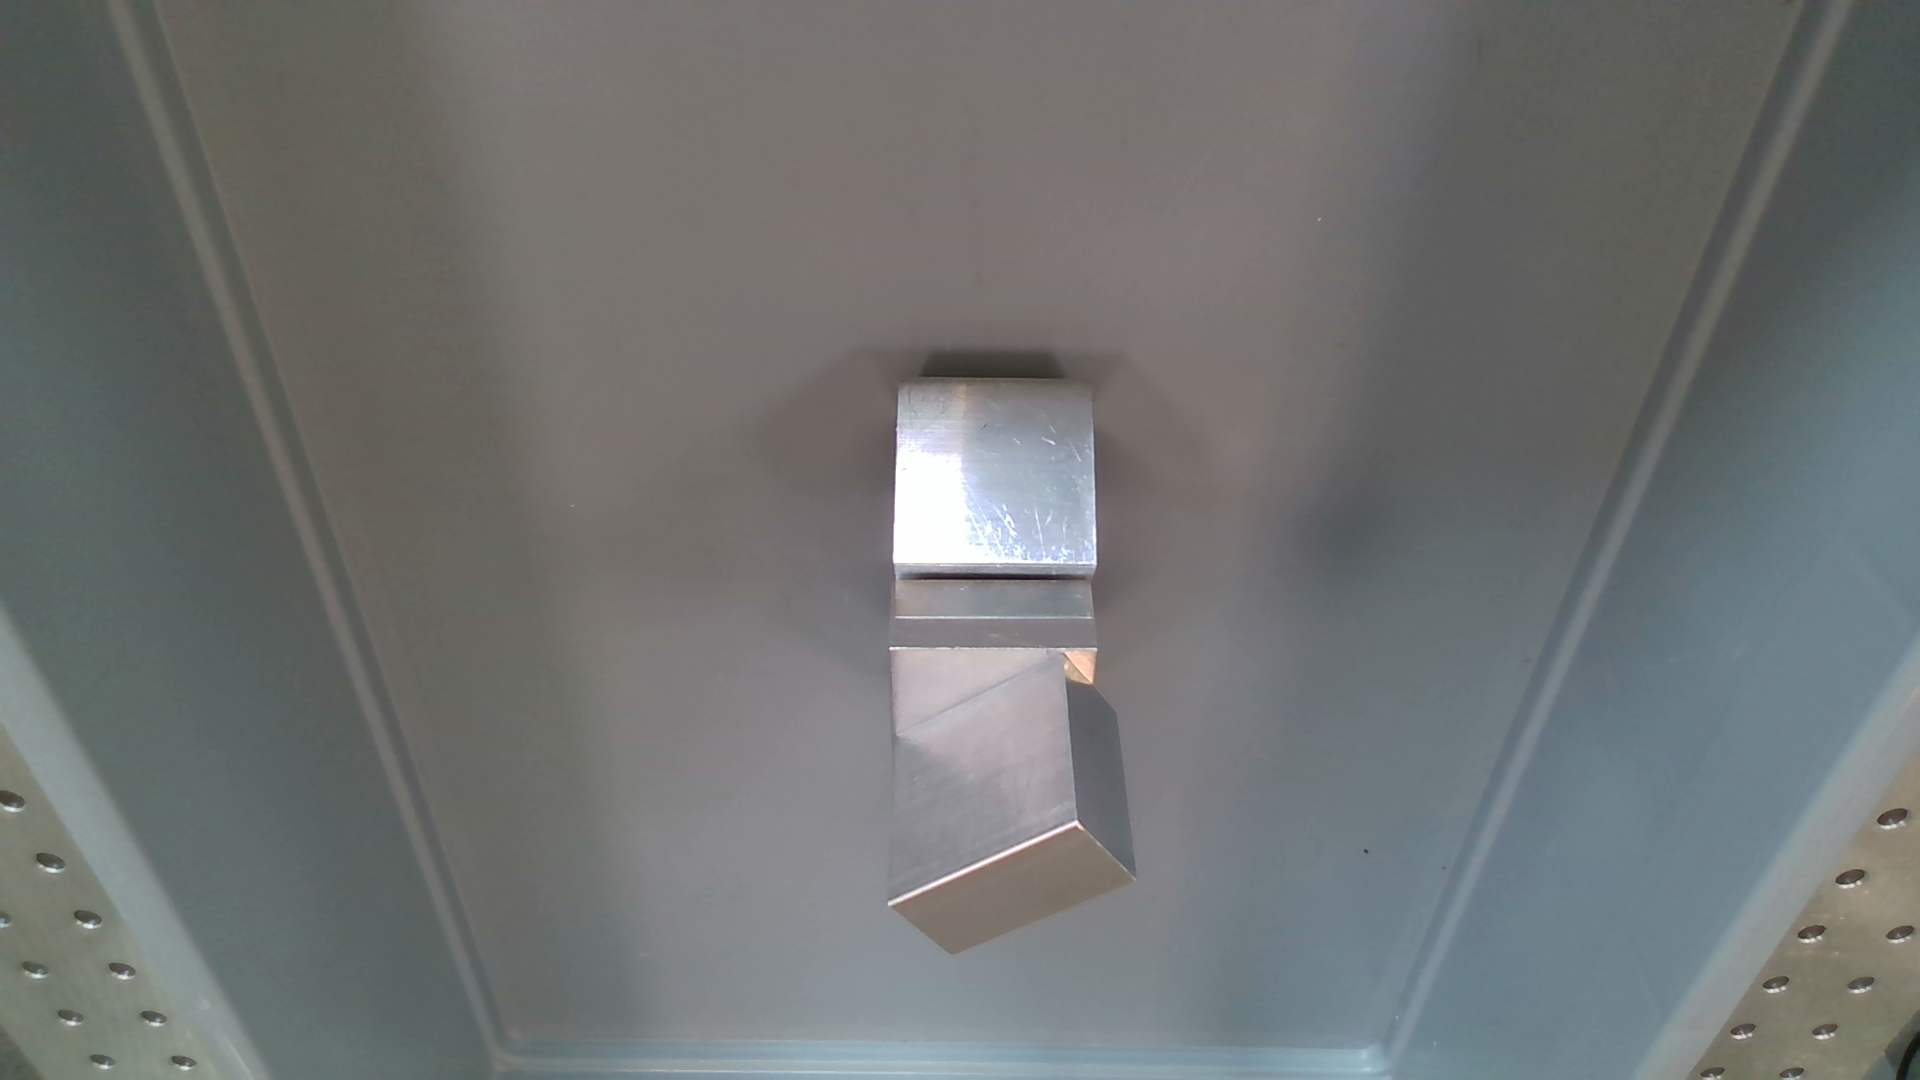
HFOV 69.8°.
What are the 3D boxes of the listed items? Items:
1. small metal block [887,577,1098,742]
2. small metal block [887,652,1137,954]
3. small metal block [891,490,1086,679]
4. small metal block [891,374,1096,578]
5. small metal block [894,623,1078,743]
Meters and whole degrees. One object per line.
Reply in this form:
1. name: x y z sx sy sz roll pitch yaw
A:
1. small metal block: 0.007 0.037 0.352 0.050 0.025 0.050 0 130 -1
2. small metal block: 0.011 0.062 0.324 0.050 0.050 0.025 -28 124 21
3. small metal block: 0.007 0.012 0.380 0.050 0.050 0.025 0 130 -1
4. small metal block: 0.008 -0.014 0.355 0.050 0.050 0.025 0 164 0
5. small metal block: 0.007 0.041 0.402 0.050 0.050 0.025 0 96 0
